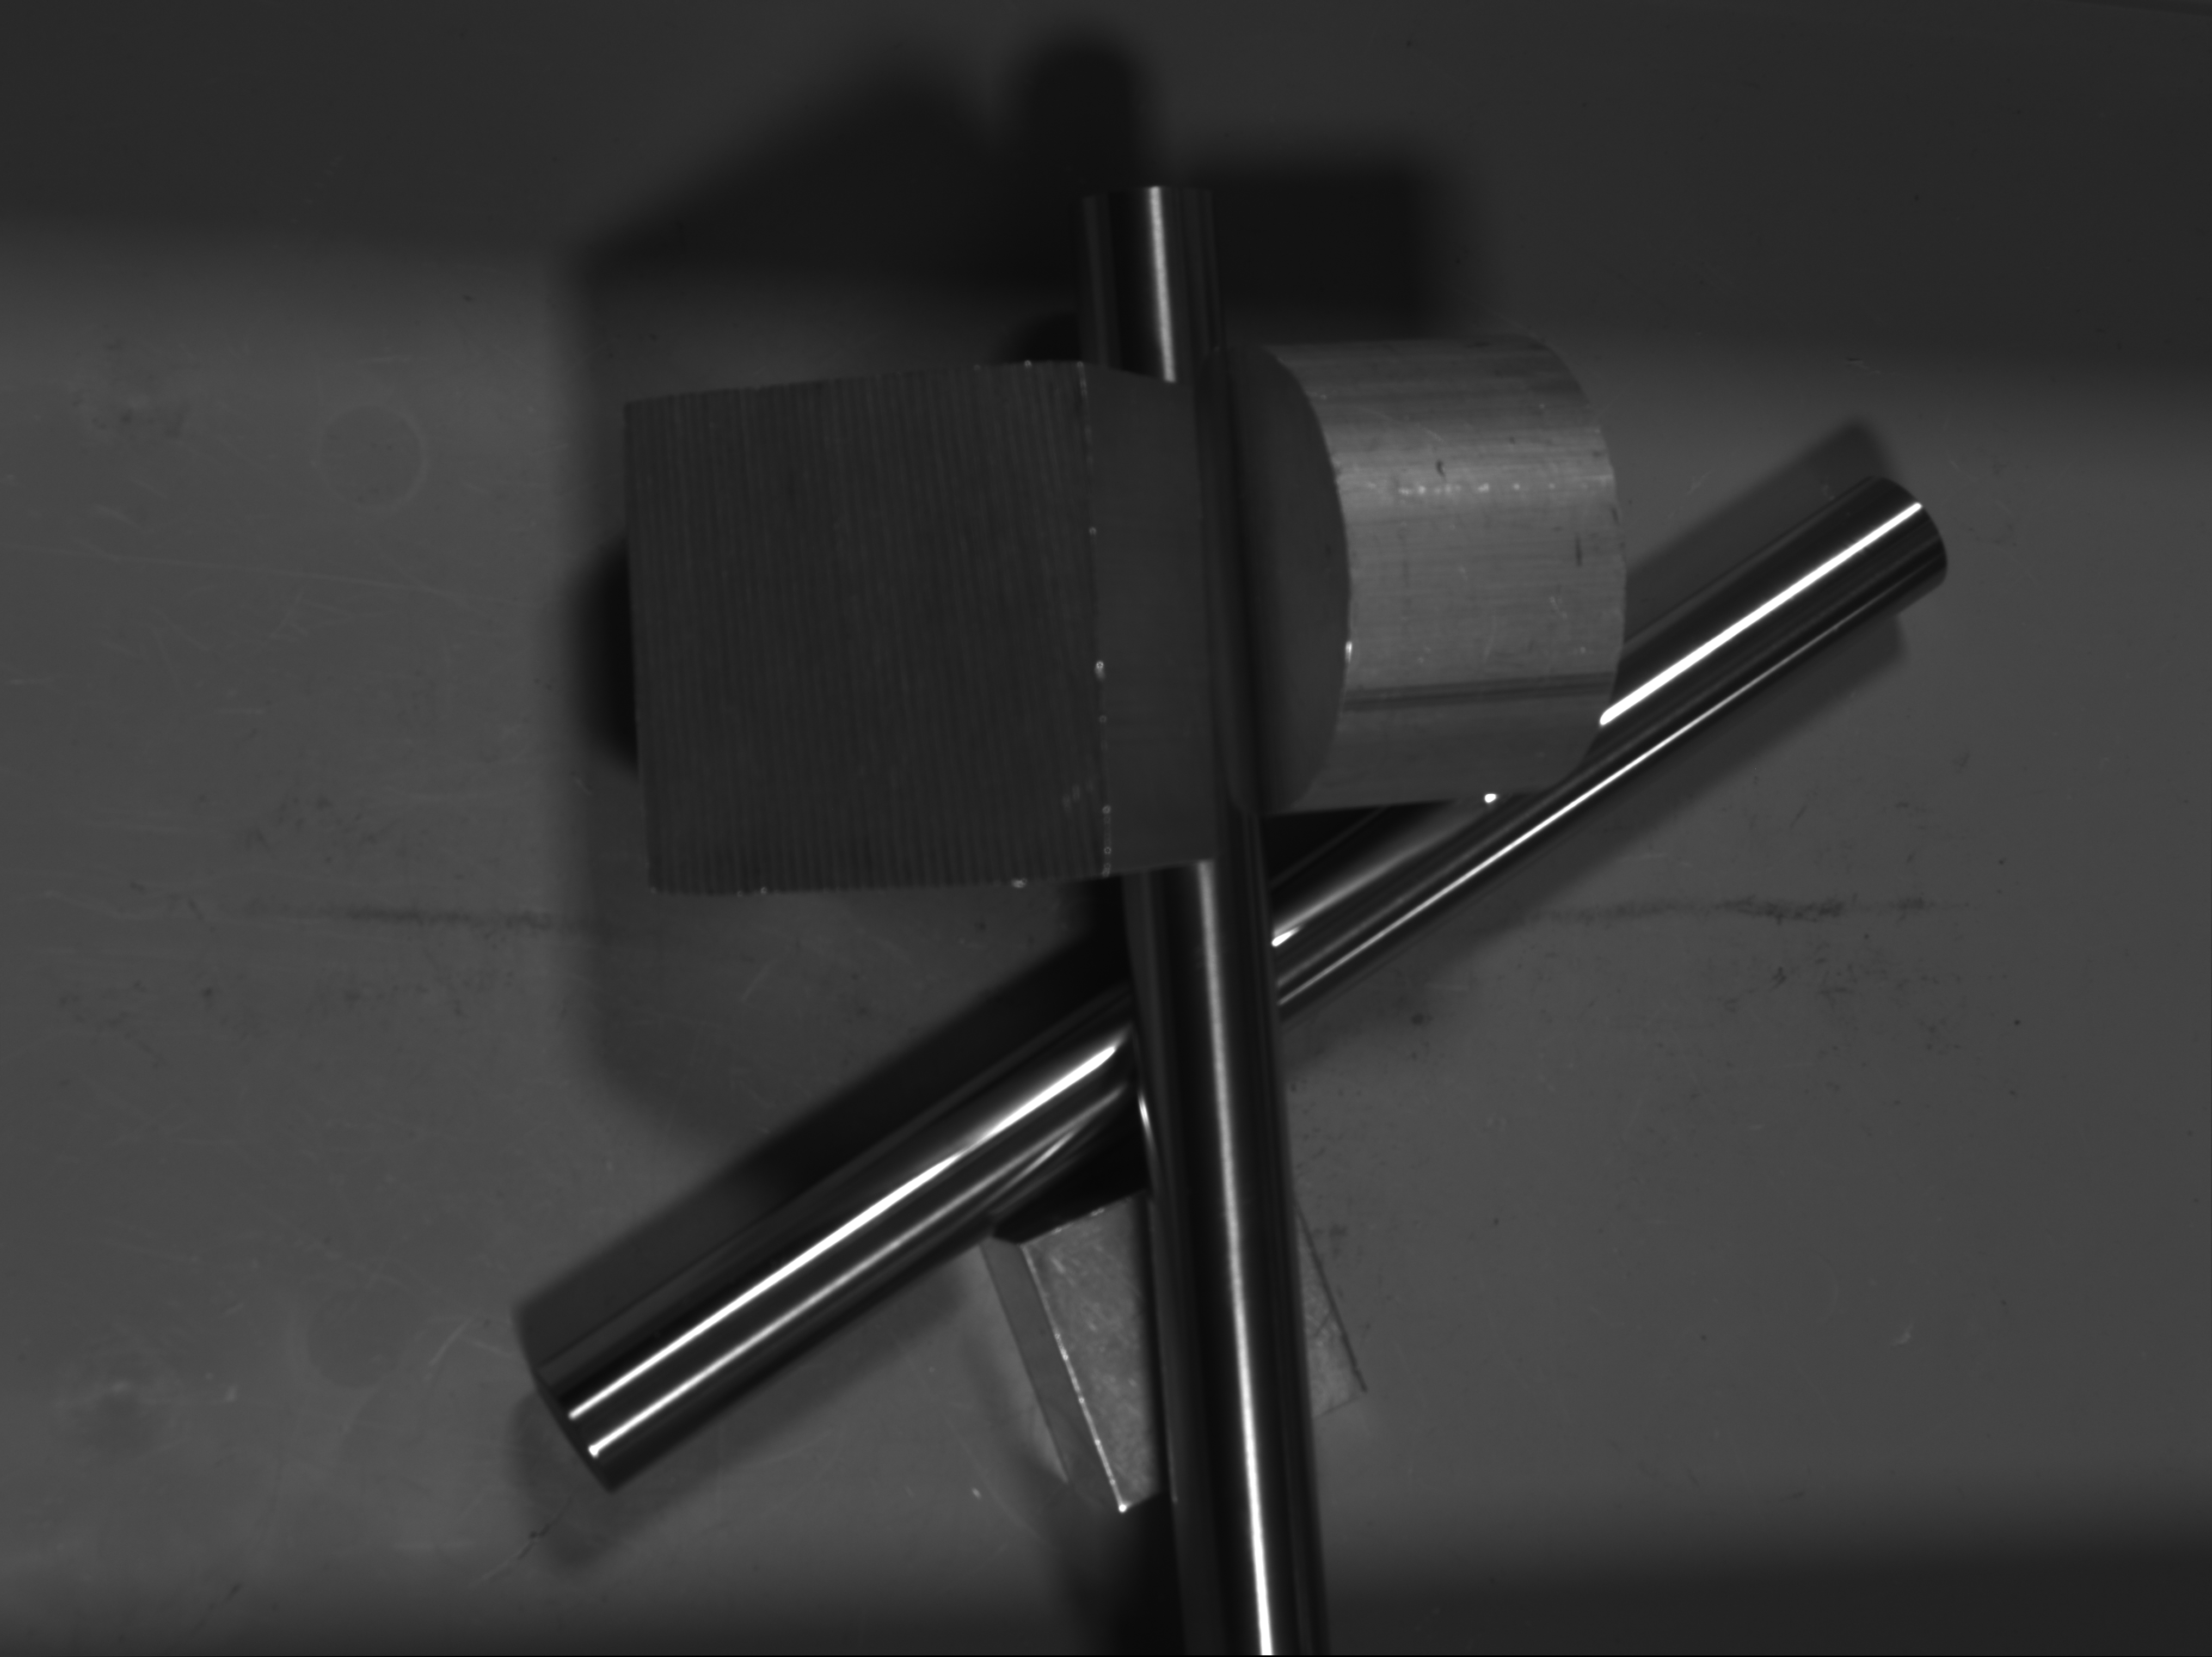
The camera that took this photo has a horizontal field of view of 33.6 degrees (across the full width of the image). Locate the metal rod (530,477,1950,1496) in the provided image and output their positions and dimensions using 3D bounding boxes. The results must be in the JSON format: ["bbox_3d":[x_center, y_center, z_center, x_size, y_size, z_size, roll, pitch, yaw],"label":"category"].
[{"bbox_3d":[0.031,0.022,0.653,0.300,0.025,0.025,-33,101,-17],"label":"metal rod"}]

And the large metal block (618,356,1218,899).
[{"bbox_3d":[-0.030,-0.031,0.598,0.080,0.050,0.080,-3,91,21],"label":"large metal block"}]

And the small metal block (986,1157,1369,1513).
[{"bbox_3d":[0.012,0.085,0.646,0.050,0.025,0.050,-22,97,-19],"label":"small metal block"}]

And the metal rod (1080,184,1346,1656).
[{"bbox_3d":[0.020,0.043,0.622,0.025,0.025,0.300,-5,91,-20],"label":"metal rod"}]

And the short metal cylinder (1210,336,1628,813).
[{"bbox_3d":[0.048,-0.044,0.630,0.050,0.080,0.080,-5,91,-21],"label":"short metal cylinder"}]
